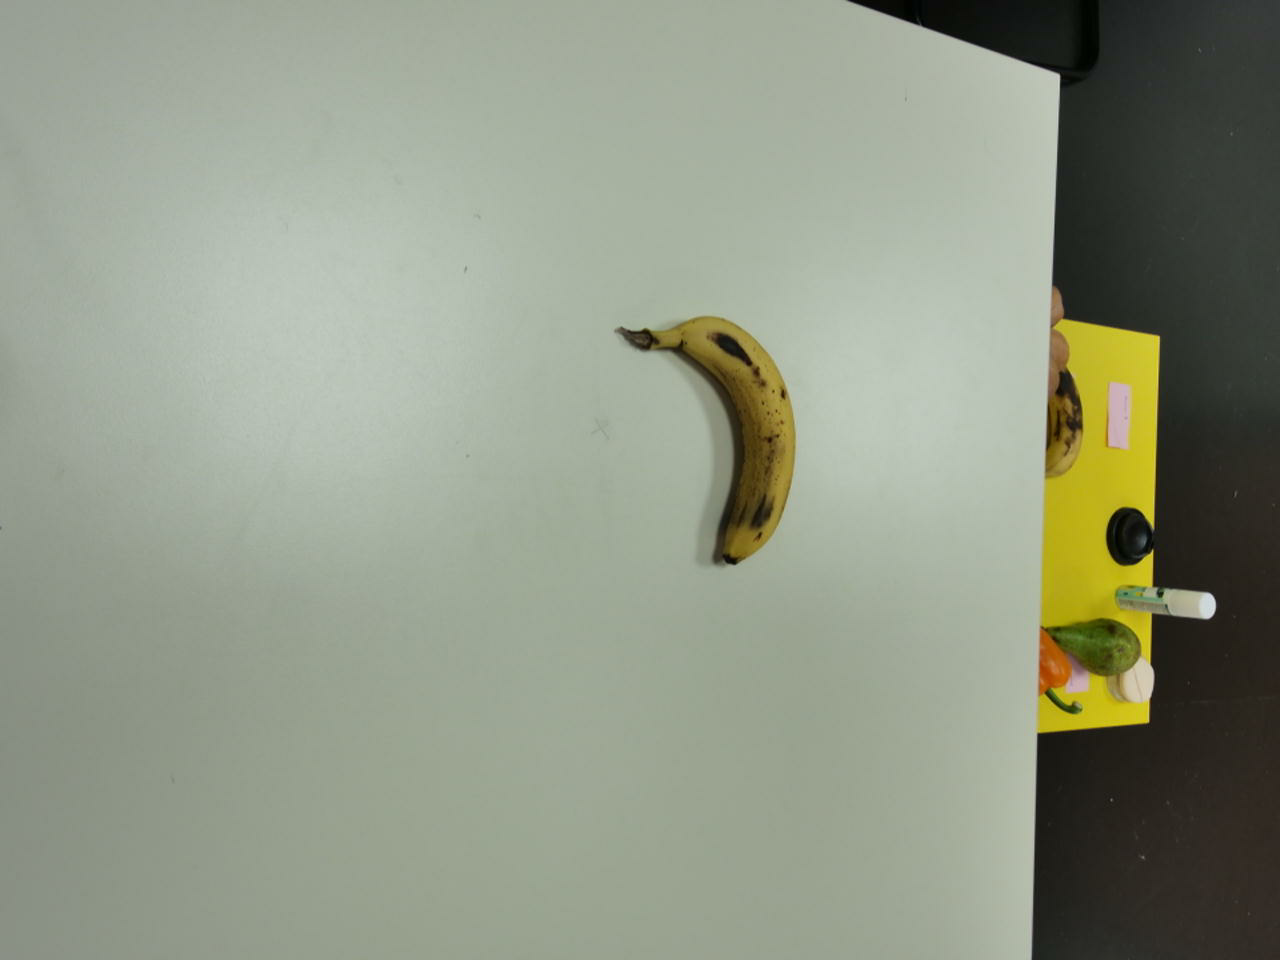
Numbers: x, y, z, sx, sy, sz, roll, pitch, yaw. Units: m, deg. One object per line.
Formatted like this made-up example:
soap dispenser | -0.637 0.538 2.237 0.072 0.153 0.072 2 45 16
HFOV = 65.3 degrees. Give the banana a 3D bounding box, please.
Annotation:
banana | 0.067 -0.040 0.735 0.097 0.038 0.186 -27 103 -25
